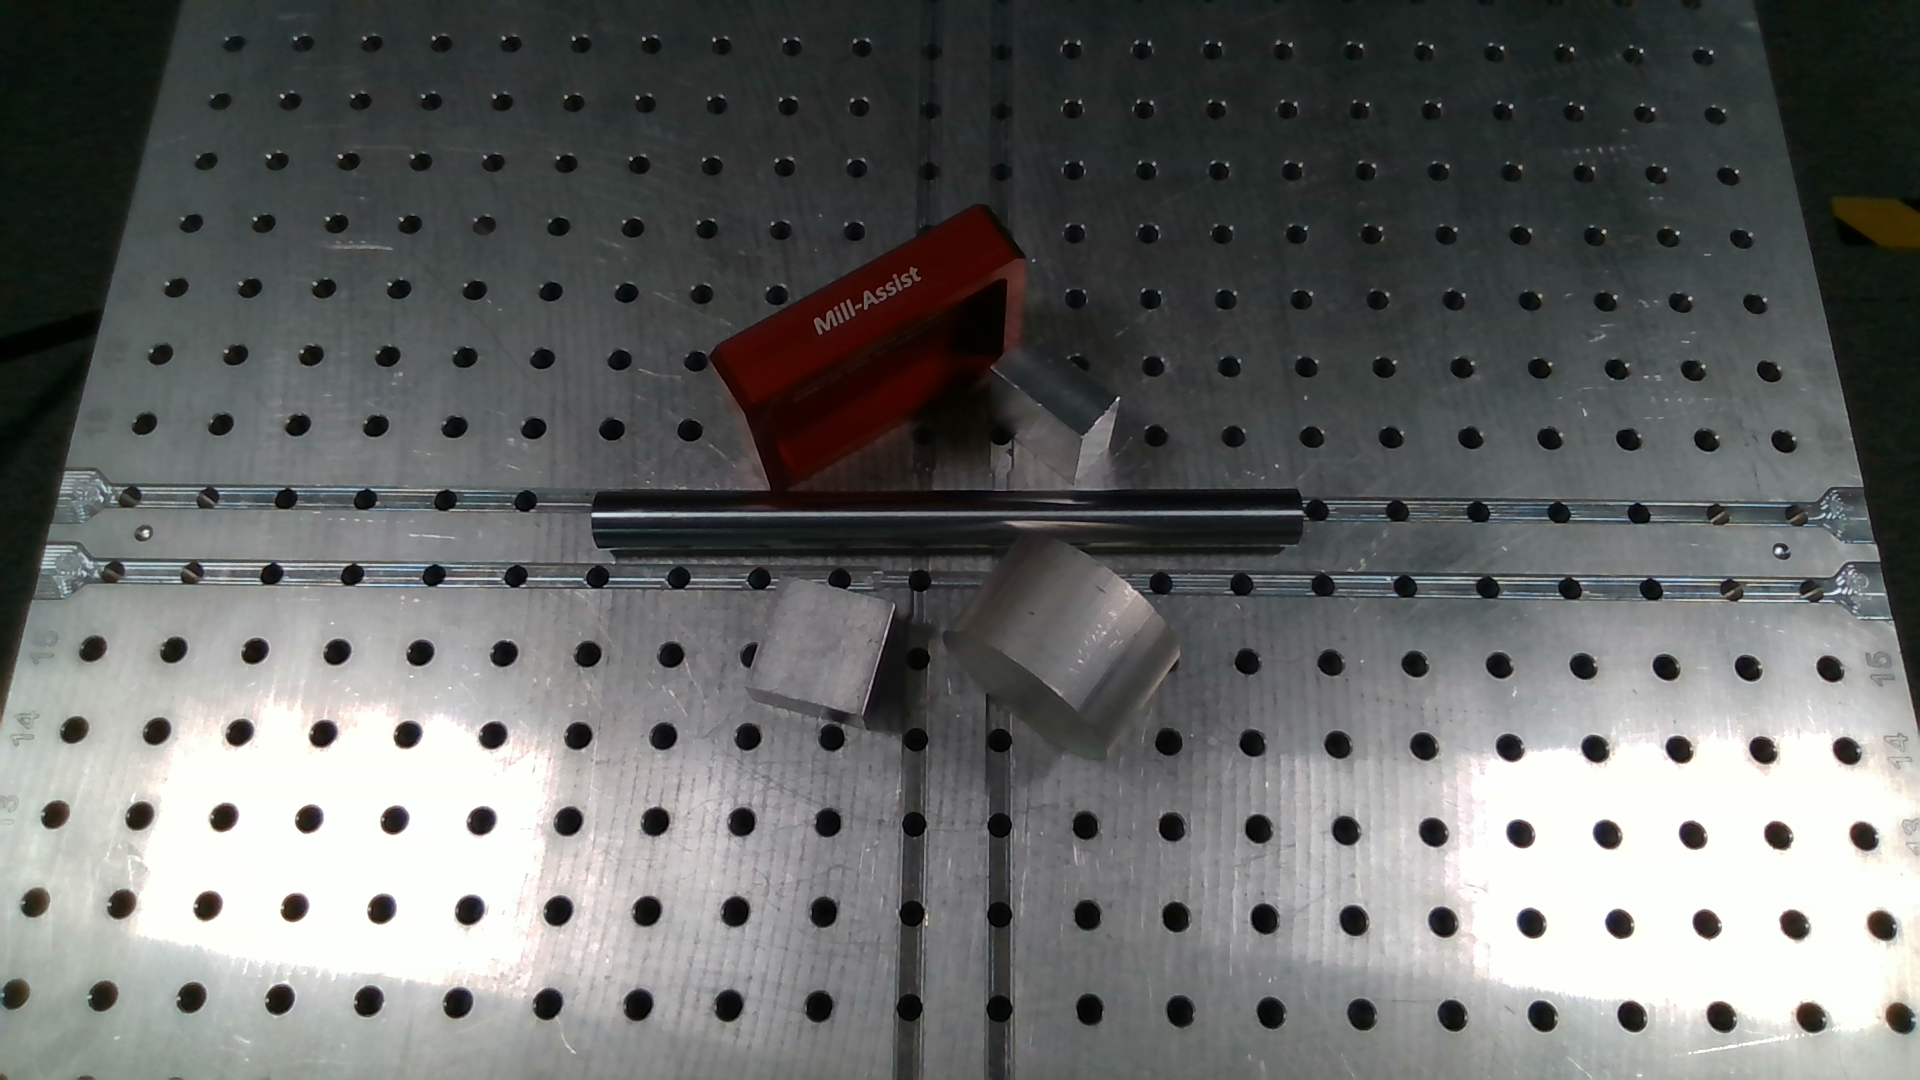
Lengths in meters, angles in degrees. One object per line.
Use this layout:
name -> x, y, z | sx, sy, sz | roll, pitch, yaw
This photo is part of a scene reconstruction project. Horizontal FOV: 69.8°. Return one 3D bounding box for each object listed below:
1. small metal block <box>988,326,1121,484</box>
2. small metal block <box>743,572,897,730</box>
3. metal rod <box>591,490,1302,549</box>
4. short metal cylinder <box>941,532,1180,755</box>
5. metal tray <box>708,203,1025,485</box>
small metal block -> 0.040, -0.058, 0.597 | 0.050, 0.050, 0.025 | 39, 75, 13
small metal block -> -0.057, 0.047, 0.575 | 0.050, 0.025, 0.050 | 14, 71, 5
metal rod -> -0.006, -0.009, 0.593 | 0.300, 0.025, 0.025 | 0, 70, 0
short metal cylinder -> 0.040, 0.042, 0.546 | 0.080, 0.080, 0.050 | 36, 74, 12
metal tray -> -0.036, -0.079, 0.584 | 0.130, 0.090, 0.030 | -31, 73, -10
